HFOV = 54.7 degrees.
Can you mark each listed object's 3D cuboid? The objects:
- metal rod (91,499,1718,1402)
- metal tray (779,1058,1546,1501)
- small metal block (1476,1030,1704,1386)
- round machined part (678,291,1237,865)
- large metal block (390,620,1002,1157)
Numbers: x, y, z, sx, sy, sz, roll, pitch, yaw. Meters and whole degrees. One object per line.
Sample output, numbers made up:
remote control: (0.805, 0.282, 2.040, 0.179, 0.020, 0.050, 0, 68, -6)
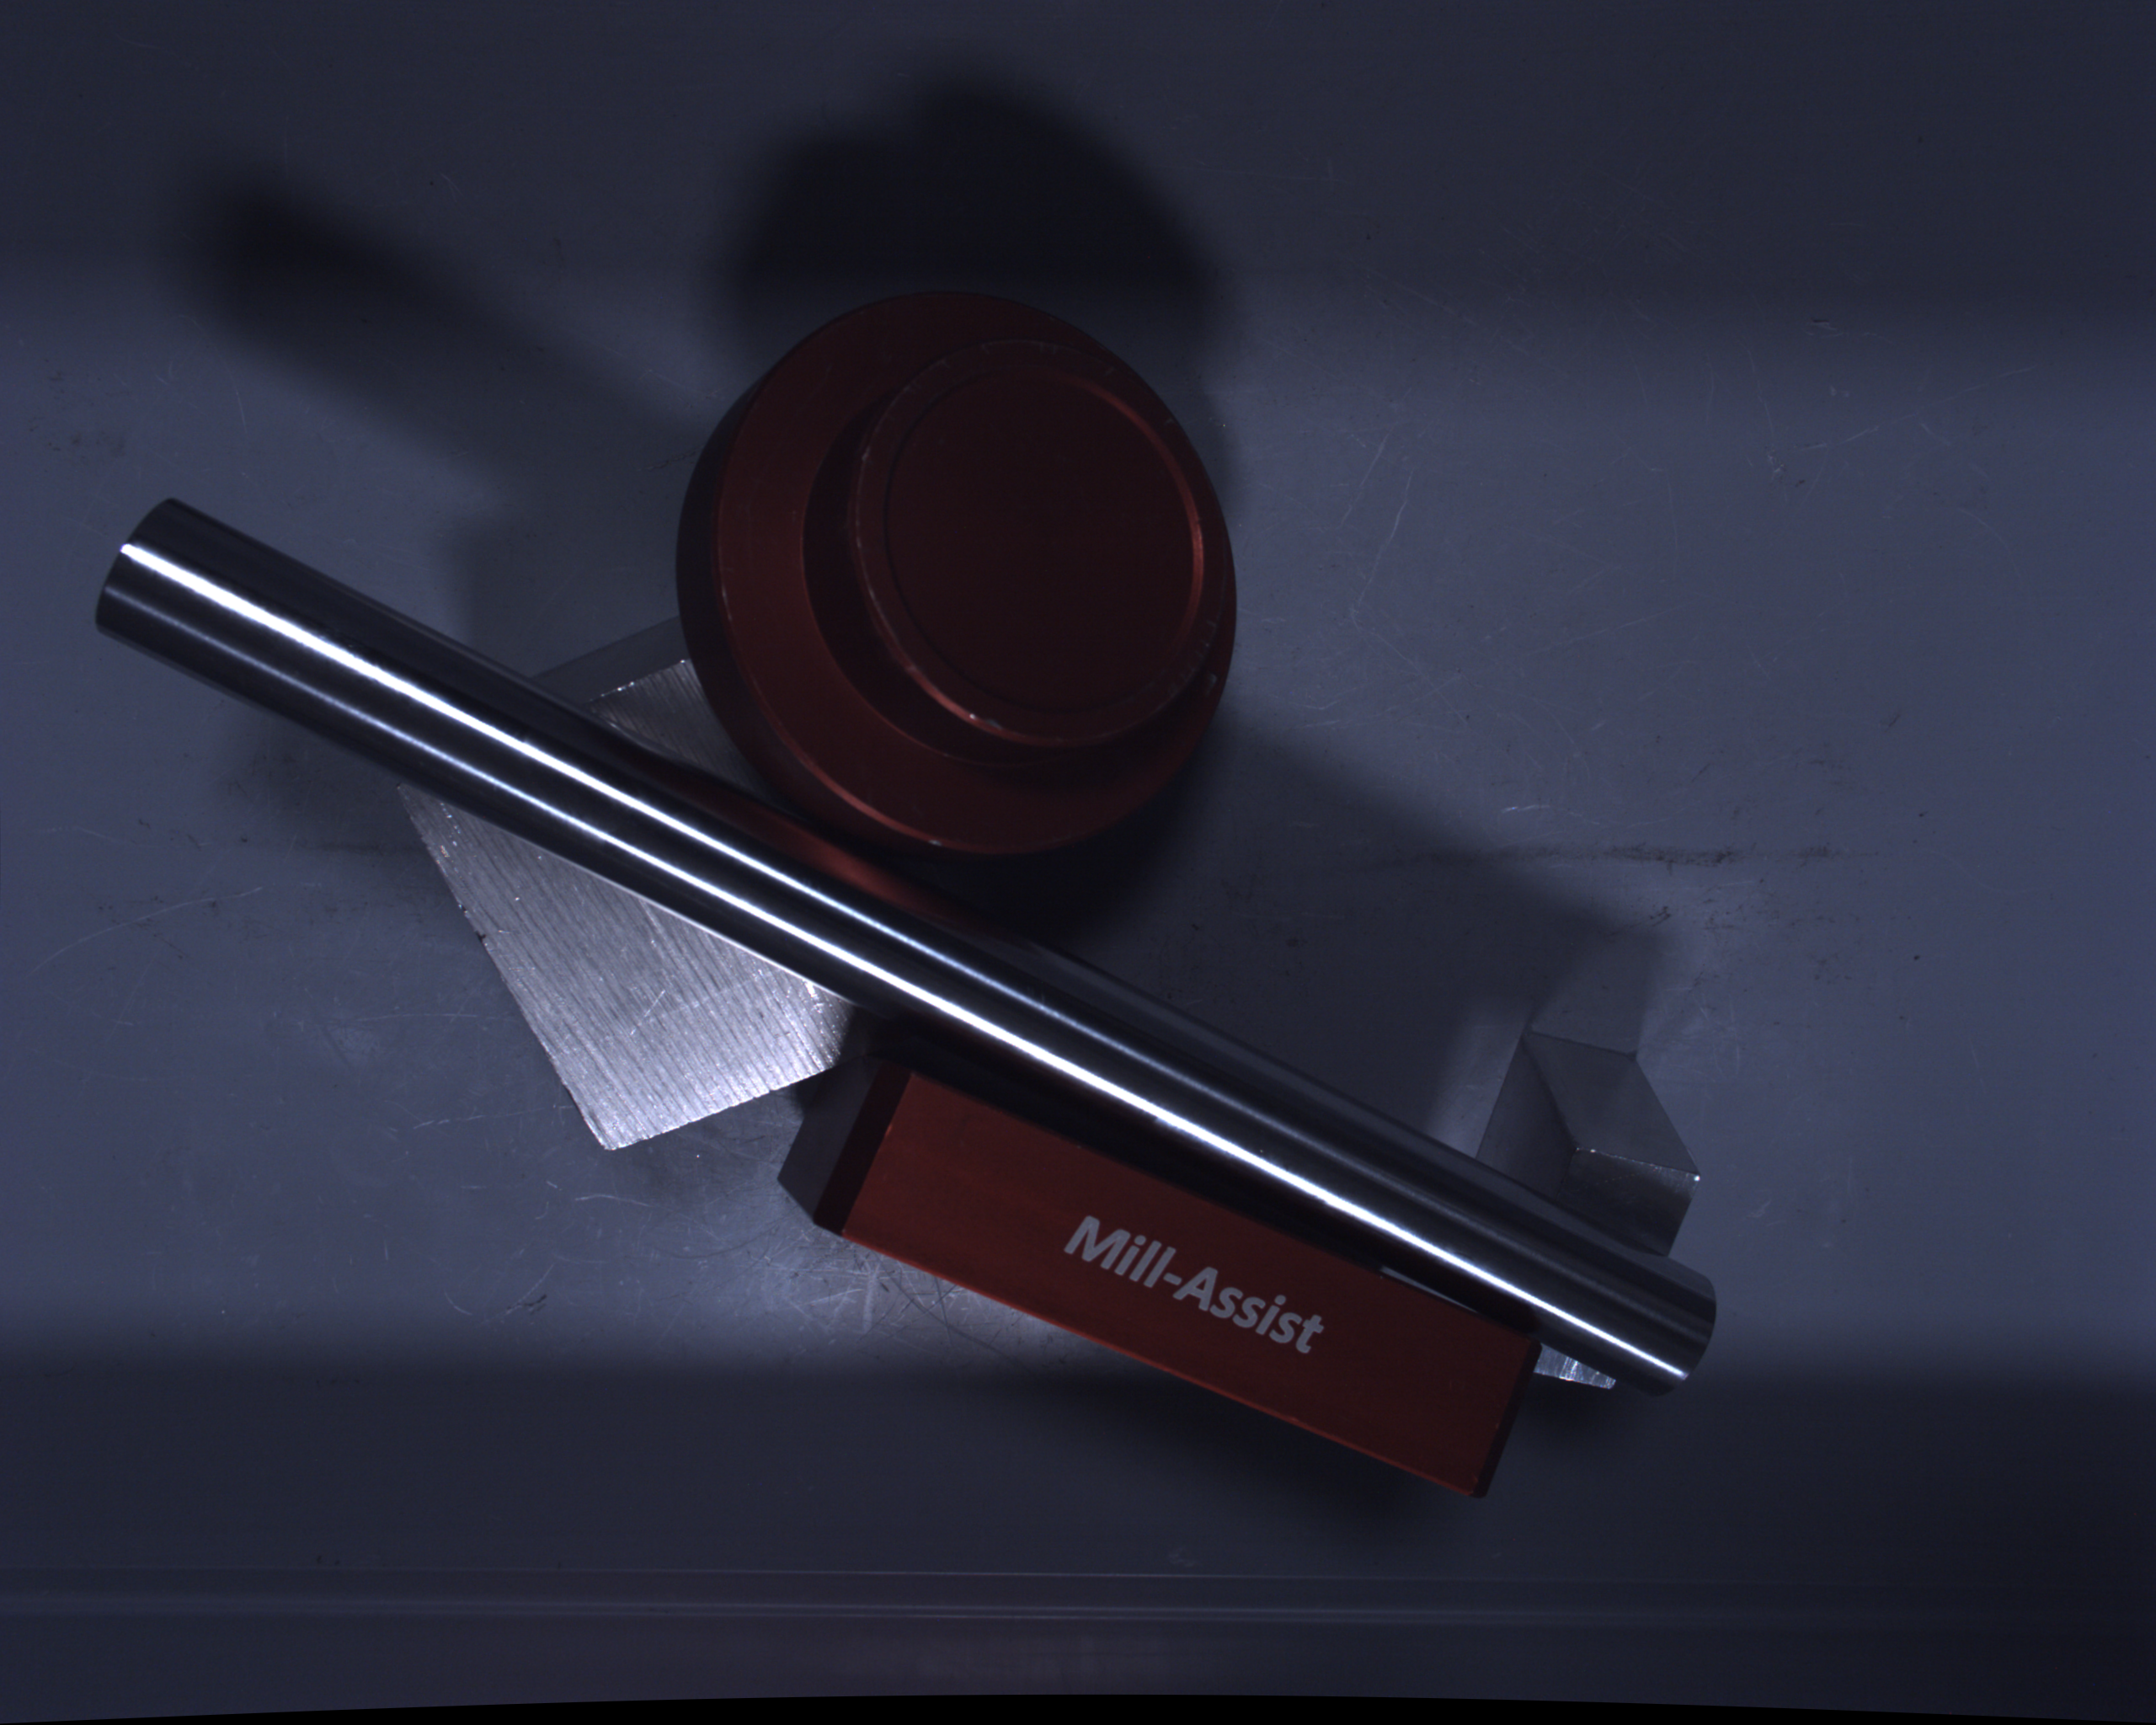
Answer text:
metal rod: (-0.020, 0.021, 0.362, 0.301, 0.025, 0.025, 27, 108, -10)
metal tray: (0.011, 0.076, 0.400, 0.131, 0.090, 0.030, 25, 81, -10)
small metal block: (0.099, 0.069, 0.423, 0.025, 0.050, 0.050, 14, 110, -5)
round machined part: (-0.014, -0.050, 0.354, 0.099, 0.042, 0.097, 4, 82, -28)
large metal block: (-0.067, -0.002, 0.394, 0.080, 0.050, 0.080, -21, 109, 7)
